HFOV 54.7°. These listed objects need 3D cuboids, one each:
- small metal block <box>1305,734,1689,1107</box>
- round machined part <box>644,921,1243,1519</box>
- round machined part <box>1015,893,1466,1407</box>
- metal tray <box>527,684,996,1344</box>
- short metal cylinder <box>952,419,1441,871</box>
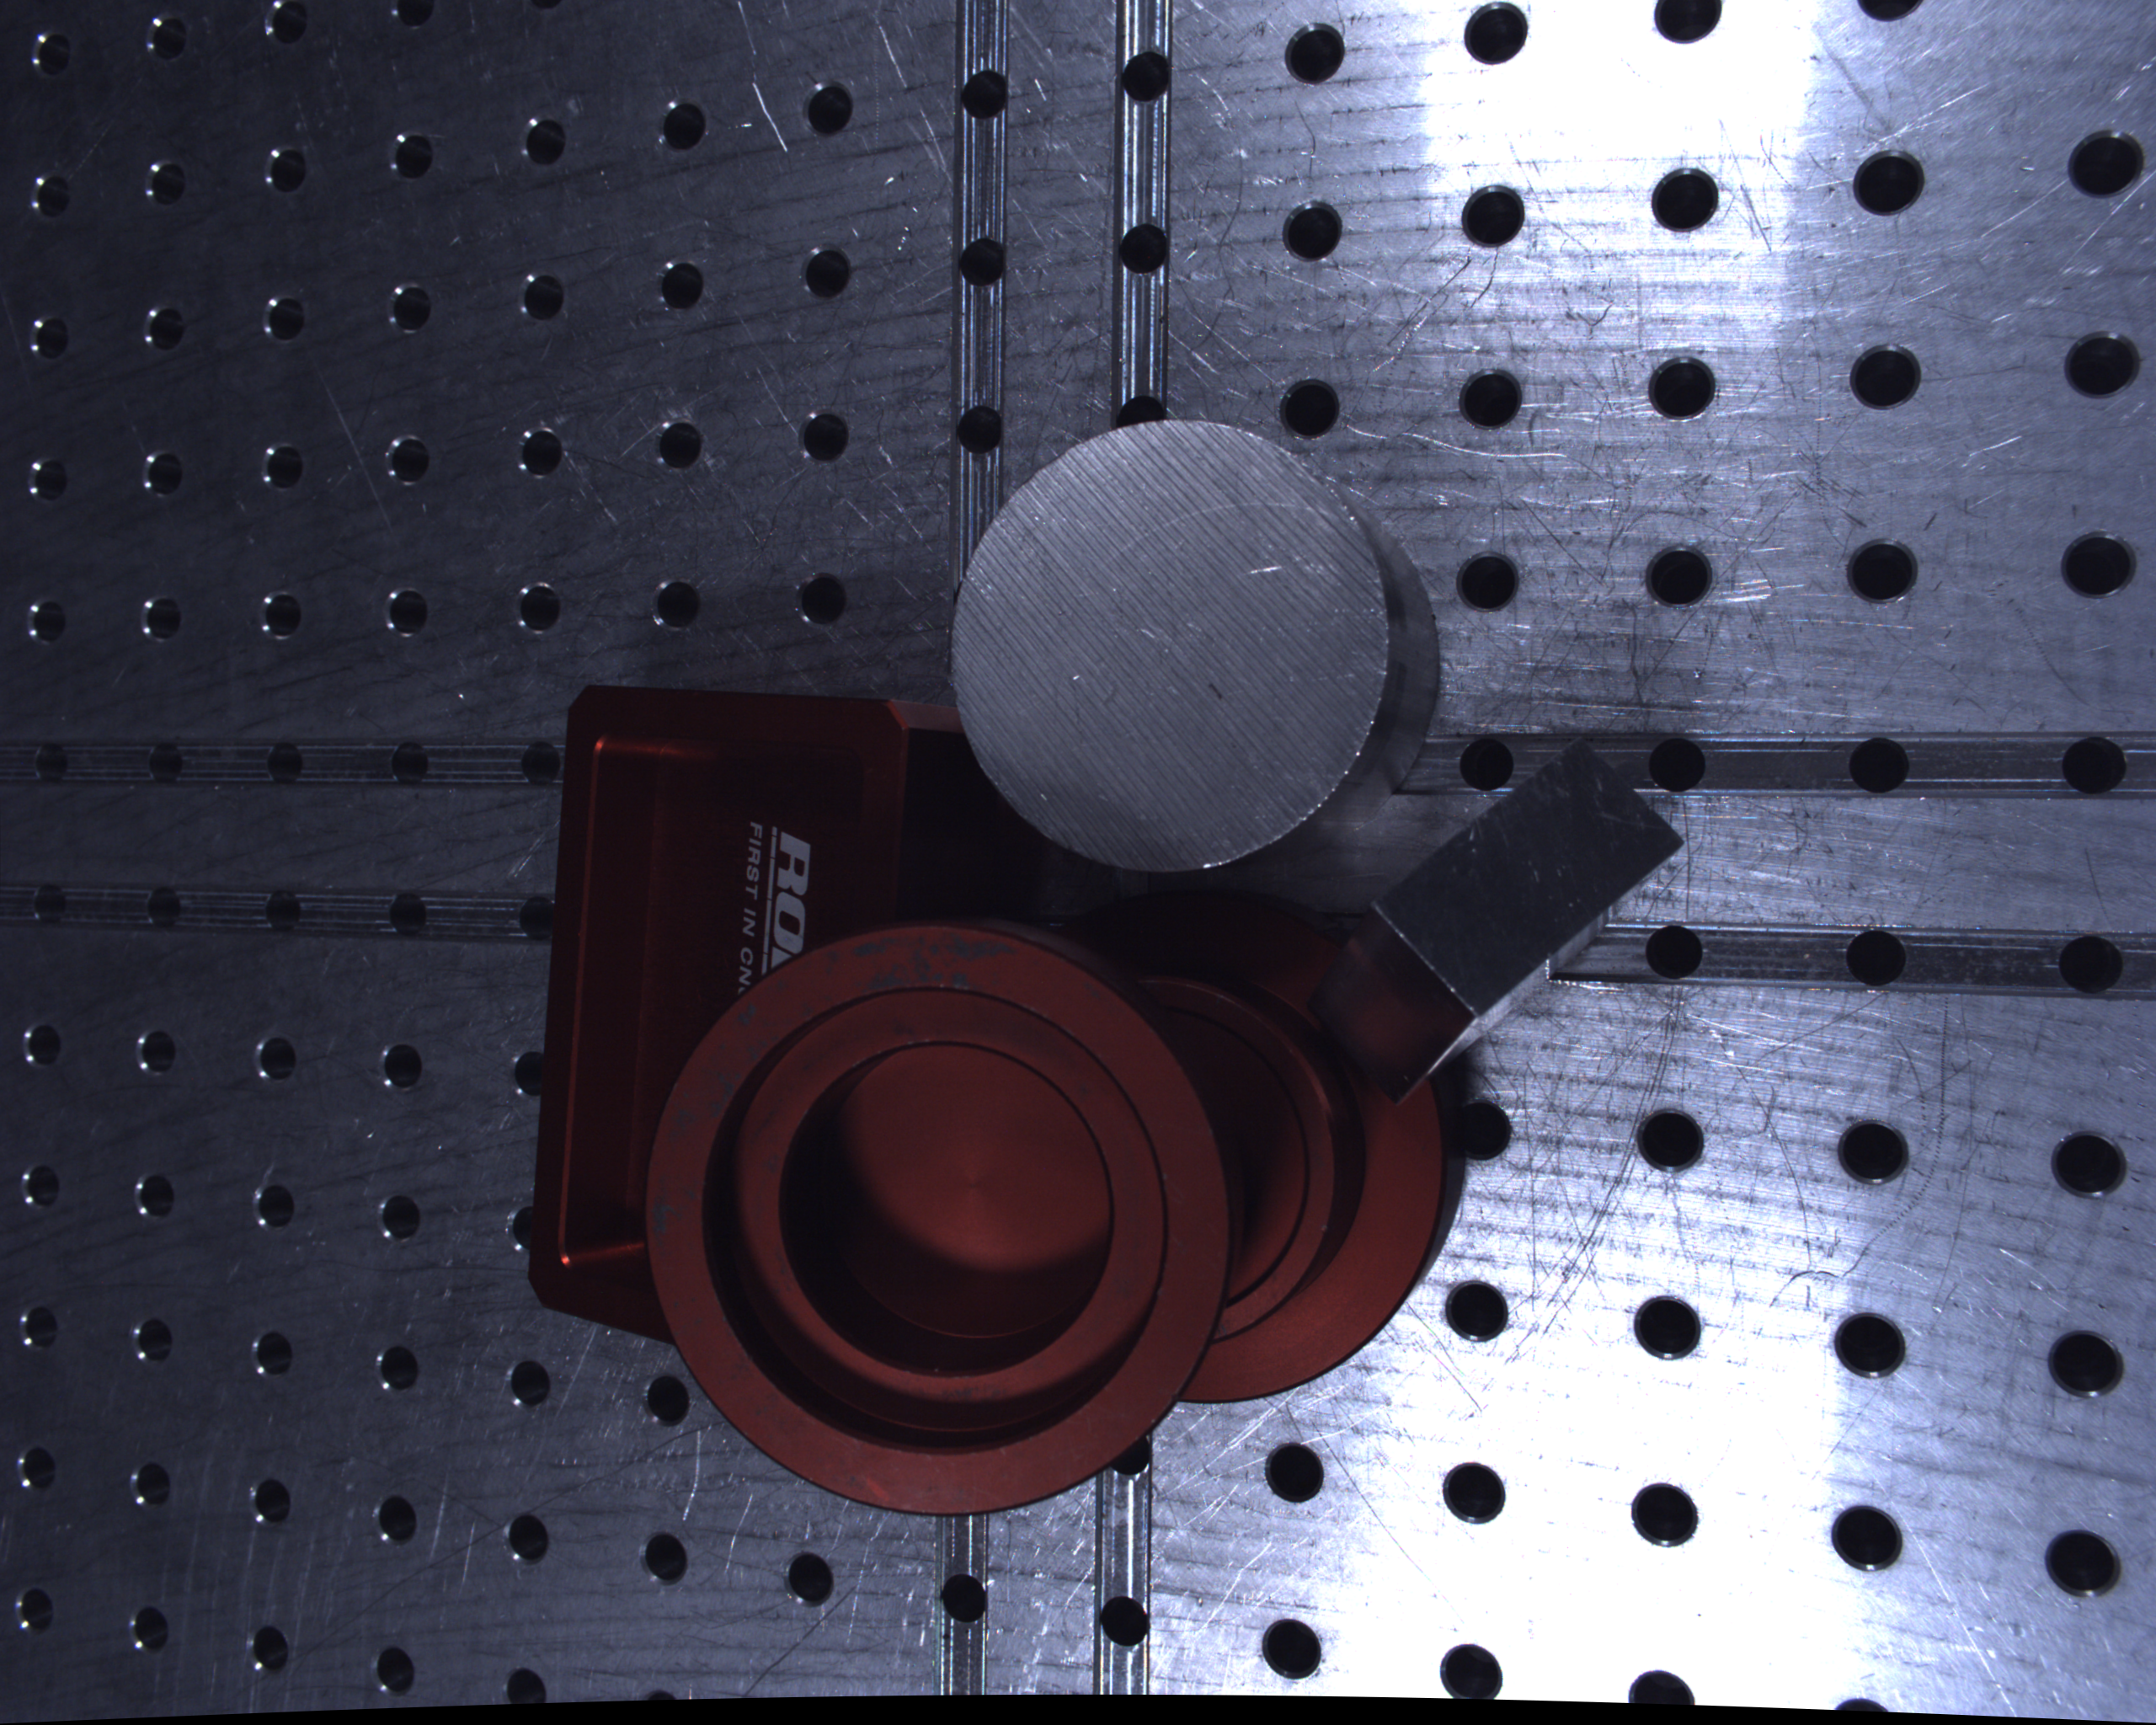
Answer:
[{"bbox_3d":[0.072,0.011,0.363,0.050,0.050,0.025,-37,76,-20],"label":"small metal block"},{"bbox_3d":[-0.020,0.058,0.359,0.098,0.042,0.097,0,92,9],"label":"round machined part"},{"bbox_3d":[0.021,0.054,0.394,0.098,0.042,0.097,0,90,19],"label":"round machined part"},{"bbox_3d":[-0.065,0.031,0.420,0.090,0.030,0.129,6,92,34],"label":"metal tray"},{"bbox_3d":[0.023,-0.038,0.390,0.080,0.050,0.079,0,90,19],"label":"short metal cylinder"}]
